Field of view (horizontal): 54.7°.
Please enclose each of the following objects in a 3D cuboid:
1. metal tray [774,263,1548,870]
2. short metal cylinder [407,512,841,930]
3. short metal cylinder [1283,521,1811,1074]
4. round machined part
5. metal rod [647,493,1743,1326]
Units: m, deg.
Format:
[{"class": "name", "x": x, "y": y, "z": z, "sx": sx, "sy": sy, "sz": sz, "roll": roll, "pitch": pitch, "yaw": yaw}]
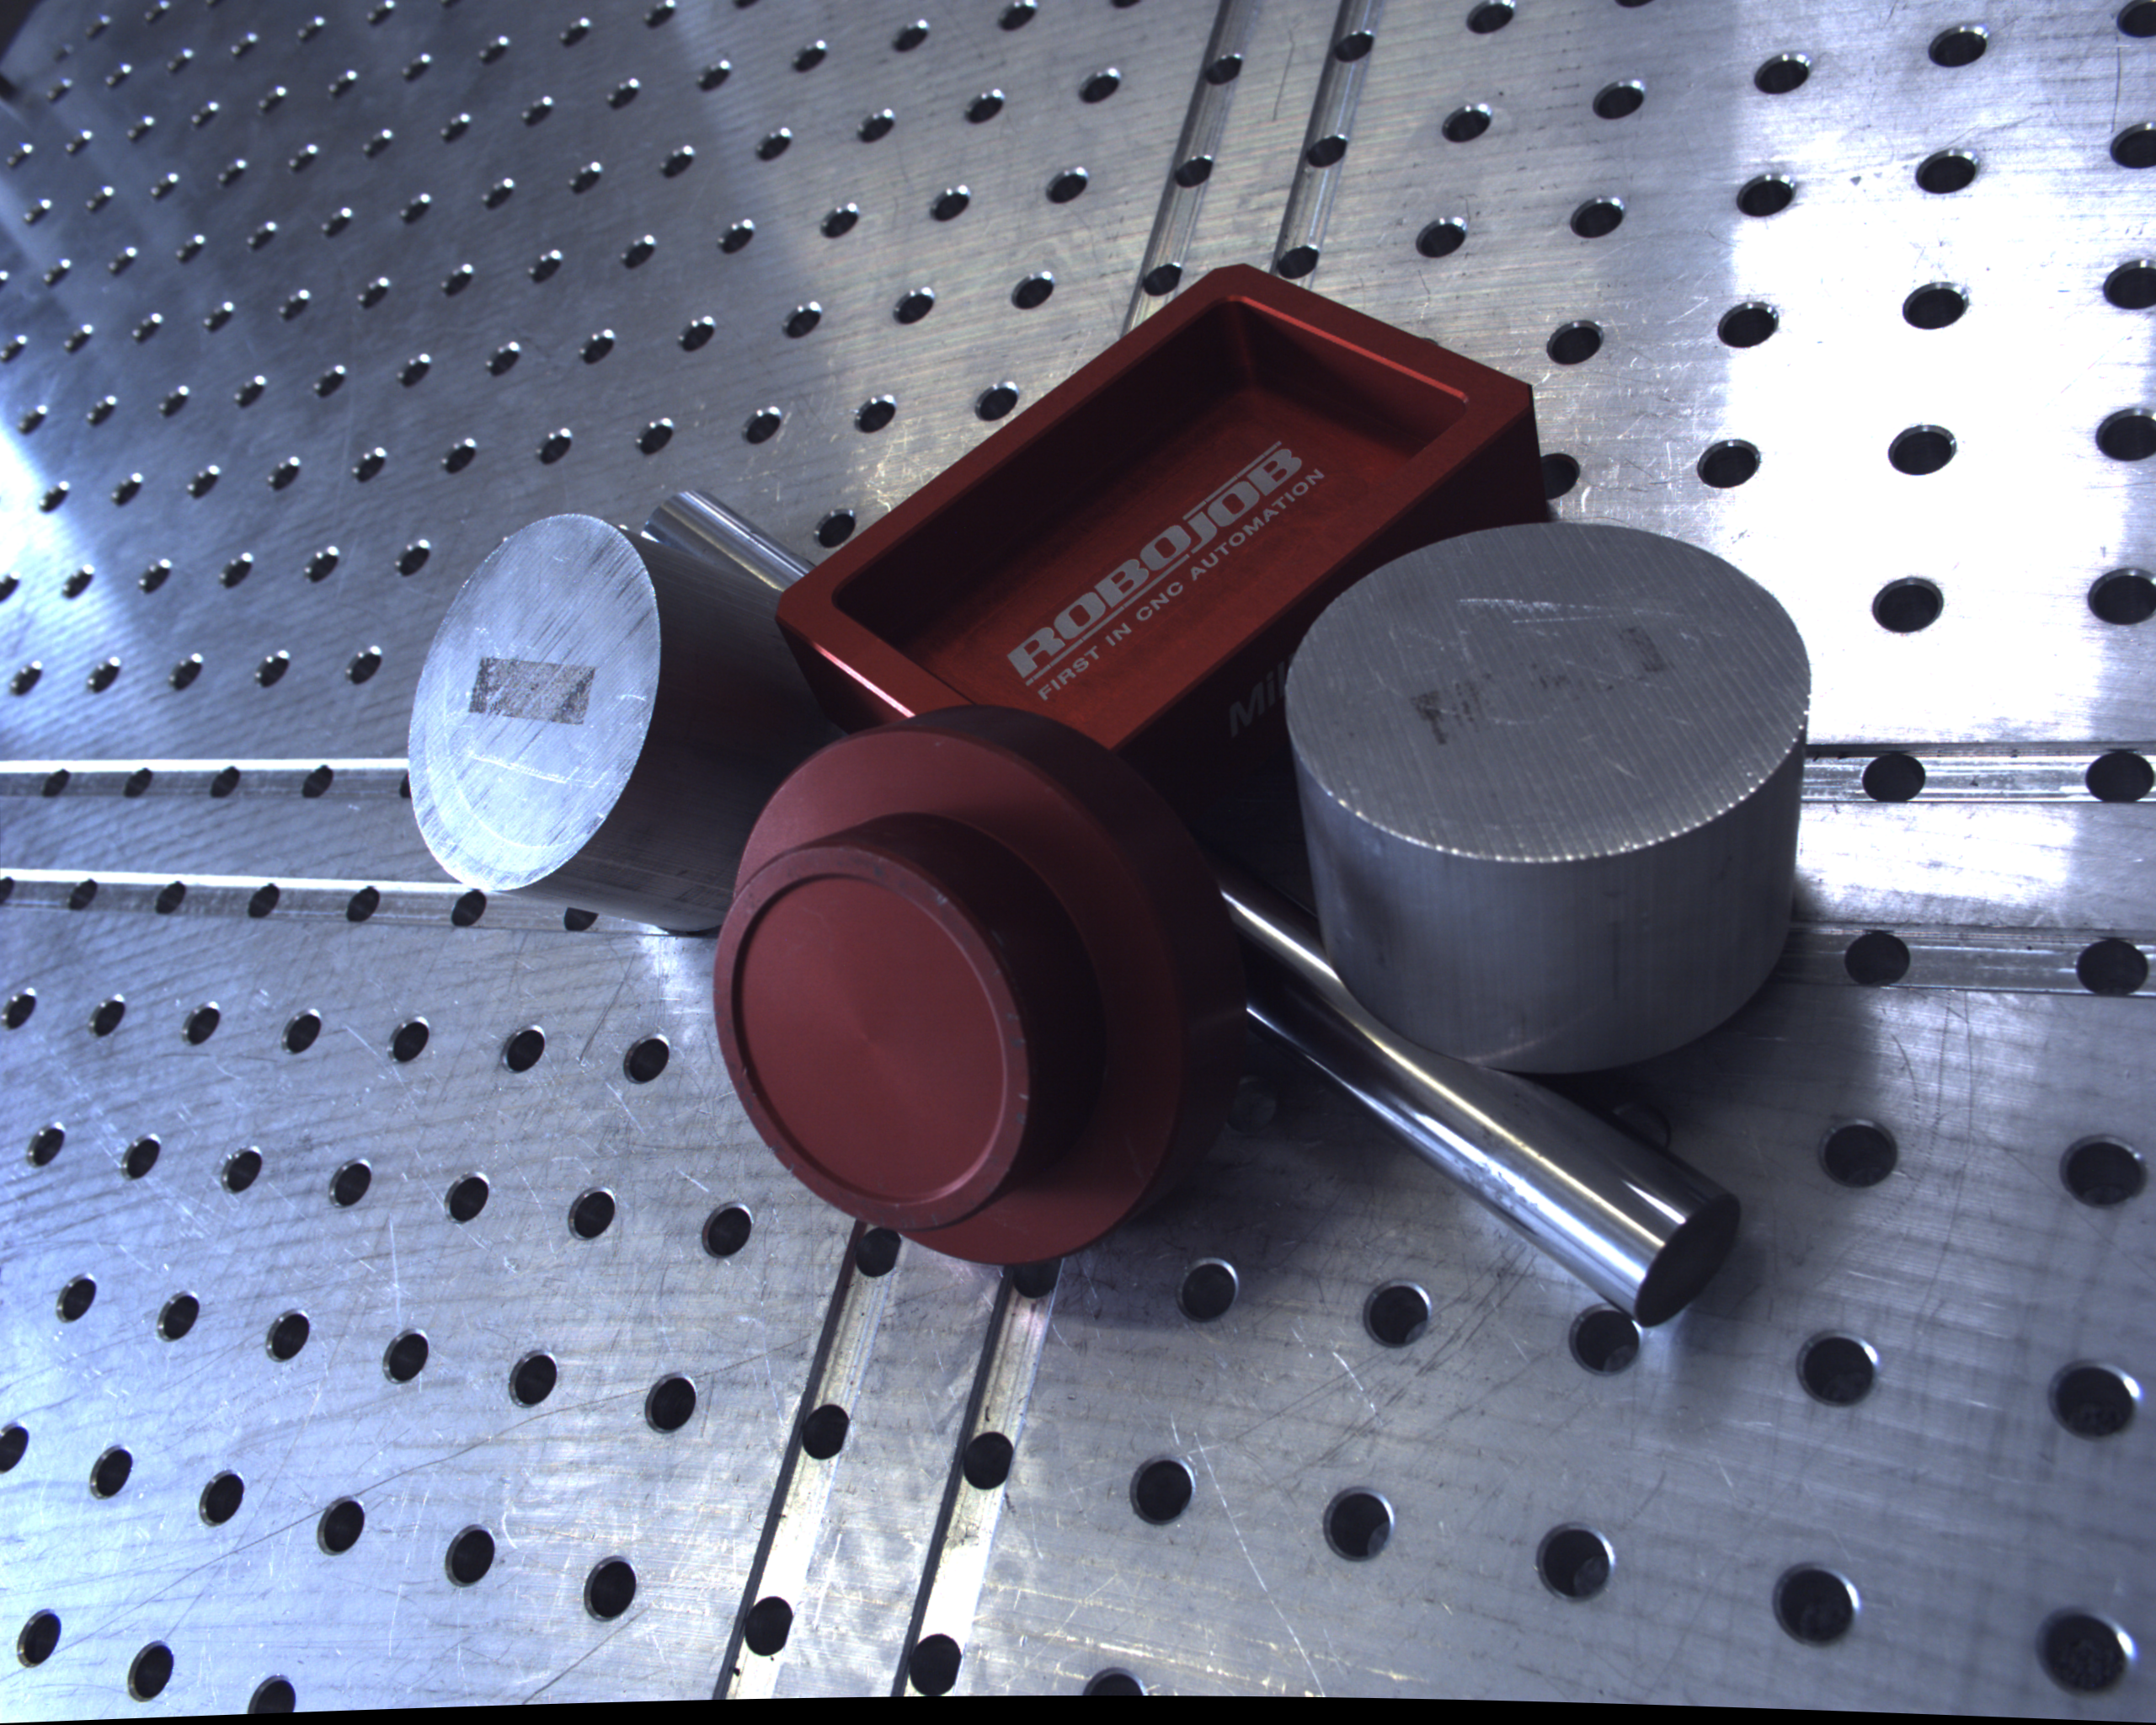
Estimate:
[{"class": "metal tray", "x": 0.017, "y": -0.061, "z": 0.415, "sx": 0.131, "sy": 0.030, "sz": 0.090, "roll": -40, "pitch": 50, "yaw": -17}, {"class": "short metal cylinder", "x": -0.097, "y": -0.029, "z": 0.446, "sx": 0.080, "sy": 0.050, "sz": 0.080, "roll": -11, "pitch": 72, "yaw": 36}, {"class": "short metal cylinder", "x": 0.077, "y": -0.012, "z": 0.344, "sx": 0.080, "sy": 0.050, "sz": 0.080, "roll": -7, "pitch": 45, "yaw": 7}, {"class": "round machined part", "x": -0.024, "y": 0.025, "z": 0.360, "sx": 0.098, "sy": 0.042, "sz": 0.097, "roll": 11, "pitch": 110, "yaw": 31}, {"class": "metal rod", "x": 0.000, "y": -0.009, "z": 0.414, "sx": 0.025, "sy": 0.025, "sz": 0.300, "roll": -49, "pitch": 51, "yaw": -6}]
